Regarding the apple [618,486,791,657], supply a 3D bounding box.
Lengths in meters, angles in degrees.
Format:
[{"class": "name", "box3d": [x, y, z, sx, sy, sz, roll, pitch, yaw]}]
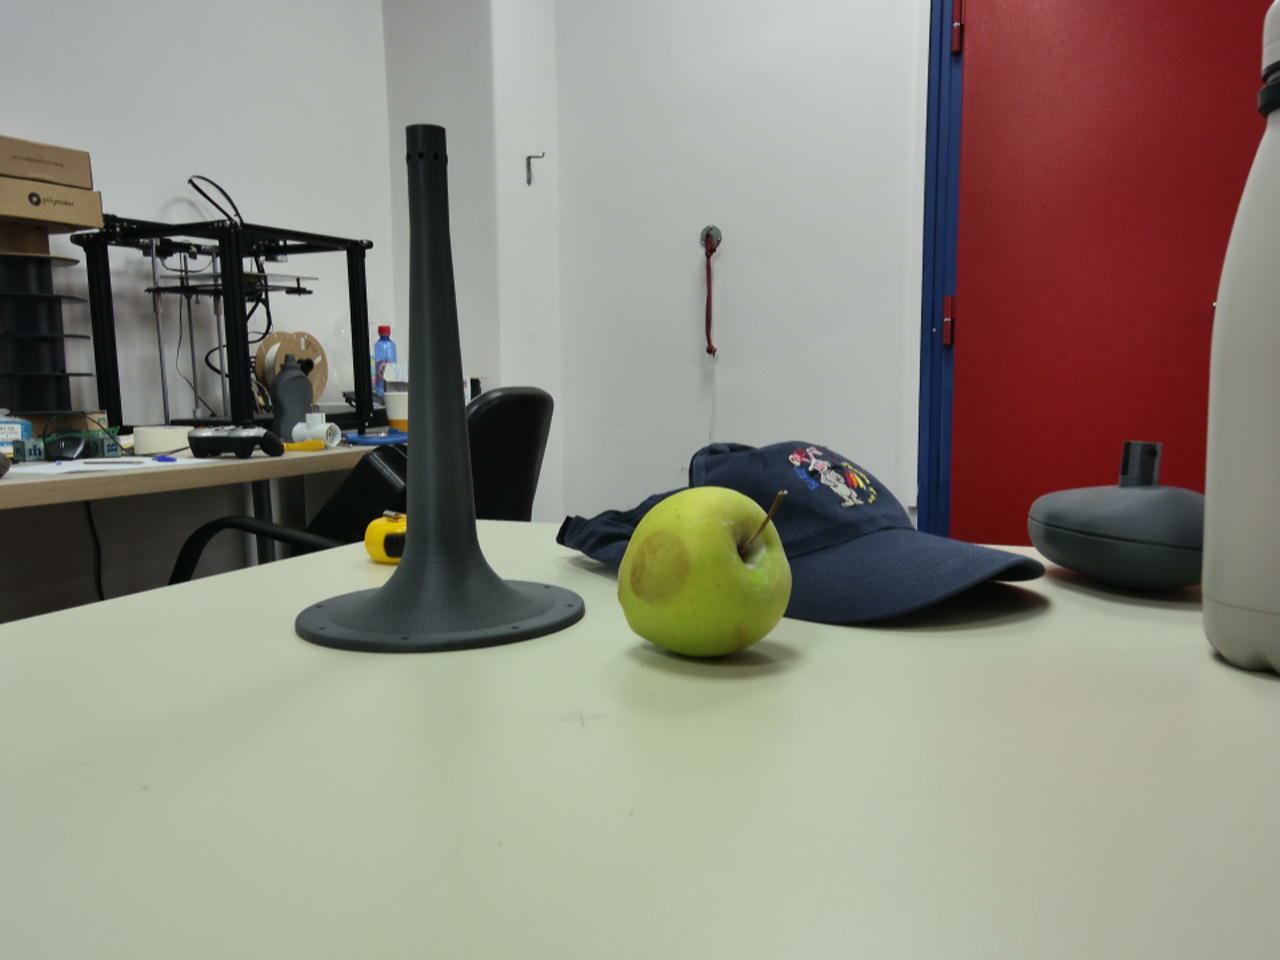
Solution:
[{"class": "apple", "box3d": [0.030, 0.040, 0.451, 0.072, 0.075, 0.077, -2, 4, -21]}]
